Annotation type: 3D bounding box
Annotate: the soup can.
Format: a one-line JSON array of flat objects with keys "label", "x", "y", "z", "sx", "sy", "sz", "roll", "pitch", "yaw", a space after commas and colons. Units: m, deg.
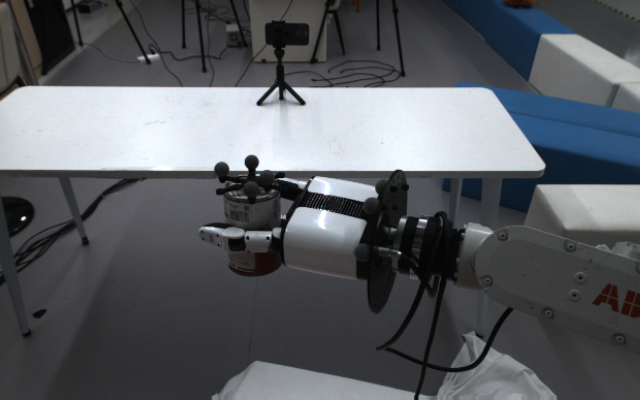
[{"label": "soup can", "x": -0.078, "y": 0.032, "z": 0.580, "sx": 0.067, "sy": 0.101, "sz": 0.067, "roll": 1, "pitch": 26, "yaw": 0}]
